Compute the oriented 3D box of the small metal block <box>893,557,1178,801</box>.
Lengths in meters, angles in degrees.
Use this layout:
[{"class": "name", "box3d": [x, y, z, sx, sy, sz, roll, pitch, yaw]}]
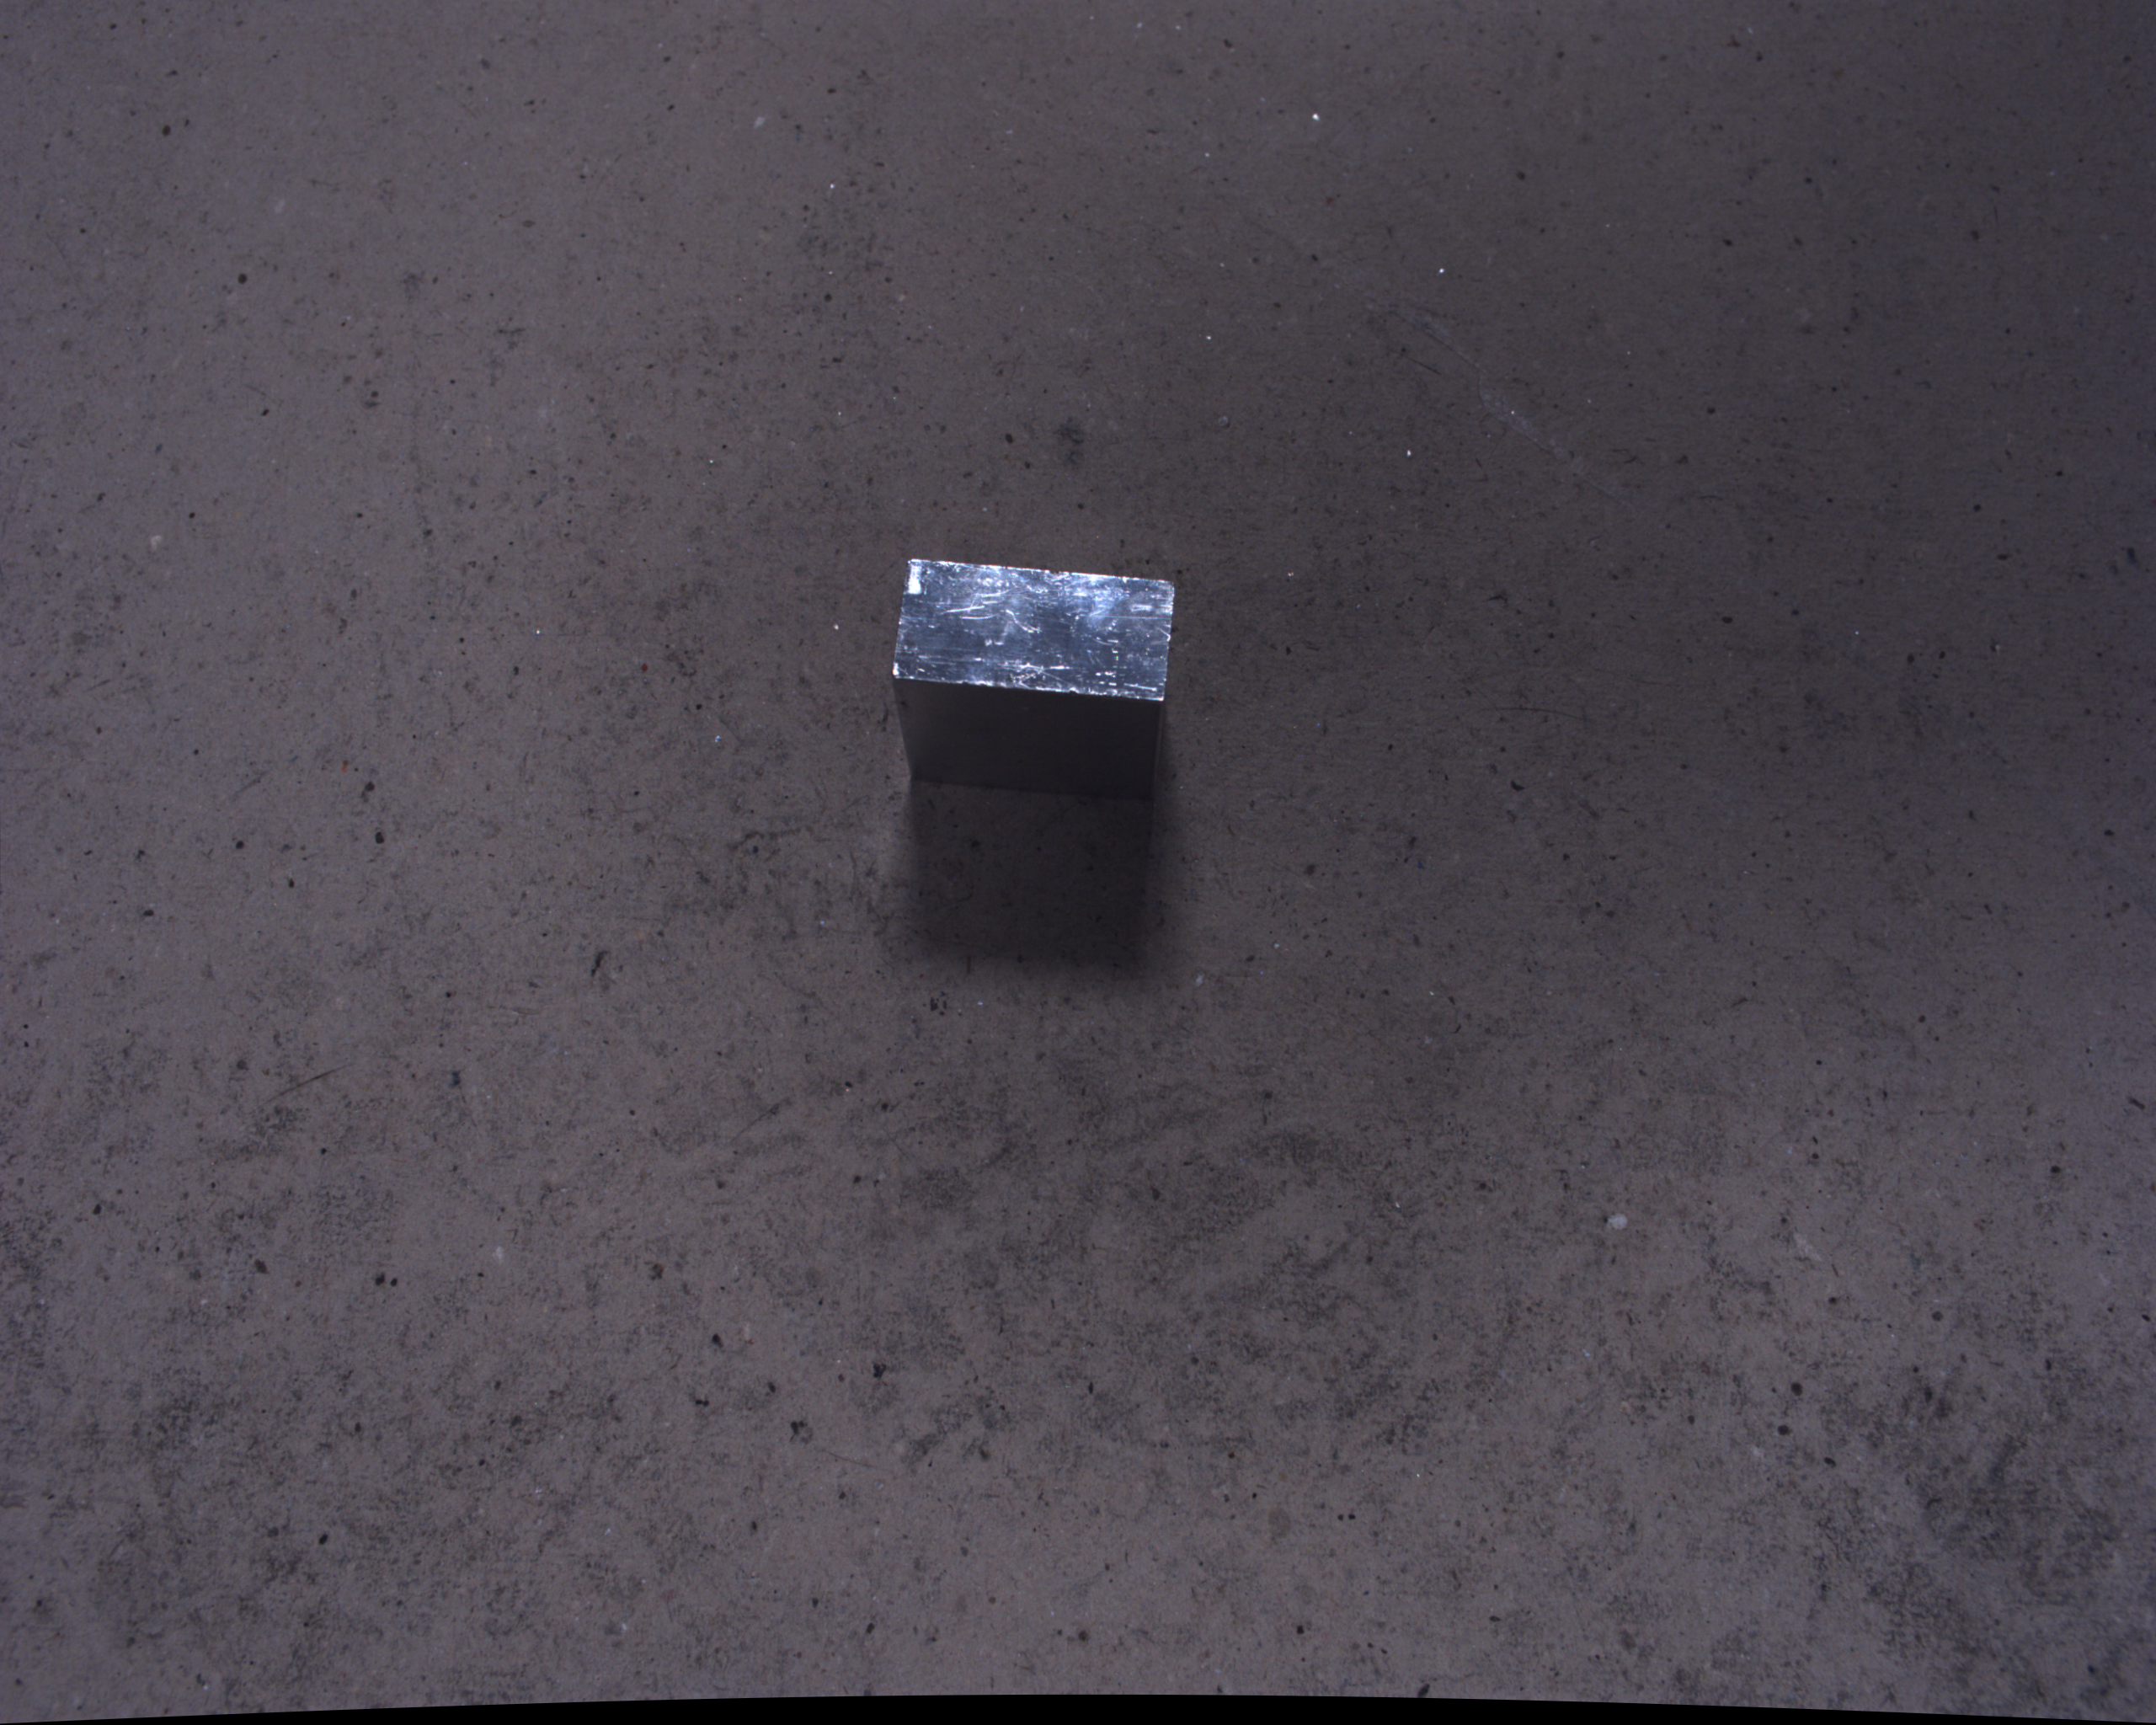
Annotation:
[{"class": "small metal block", "box3d": [-0.008, -0.035, 0.408, 0.050, 0.050, 0.025, 5, 70, 1]}]
